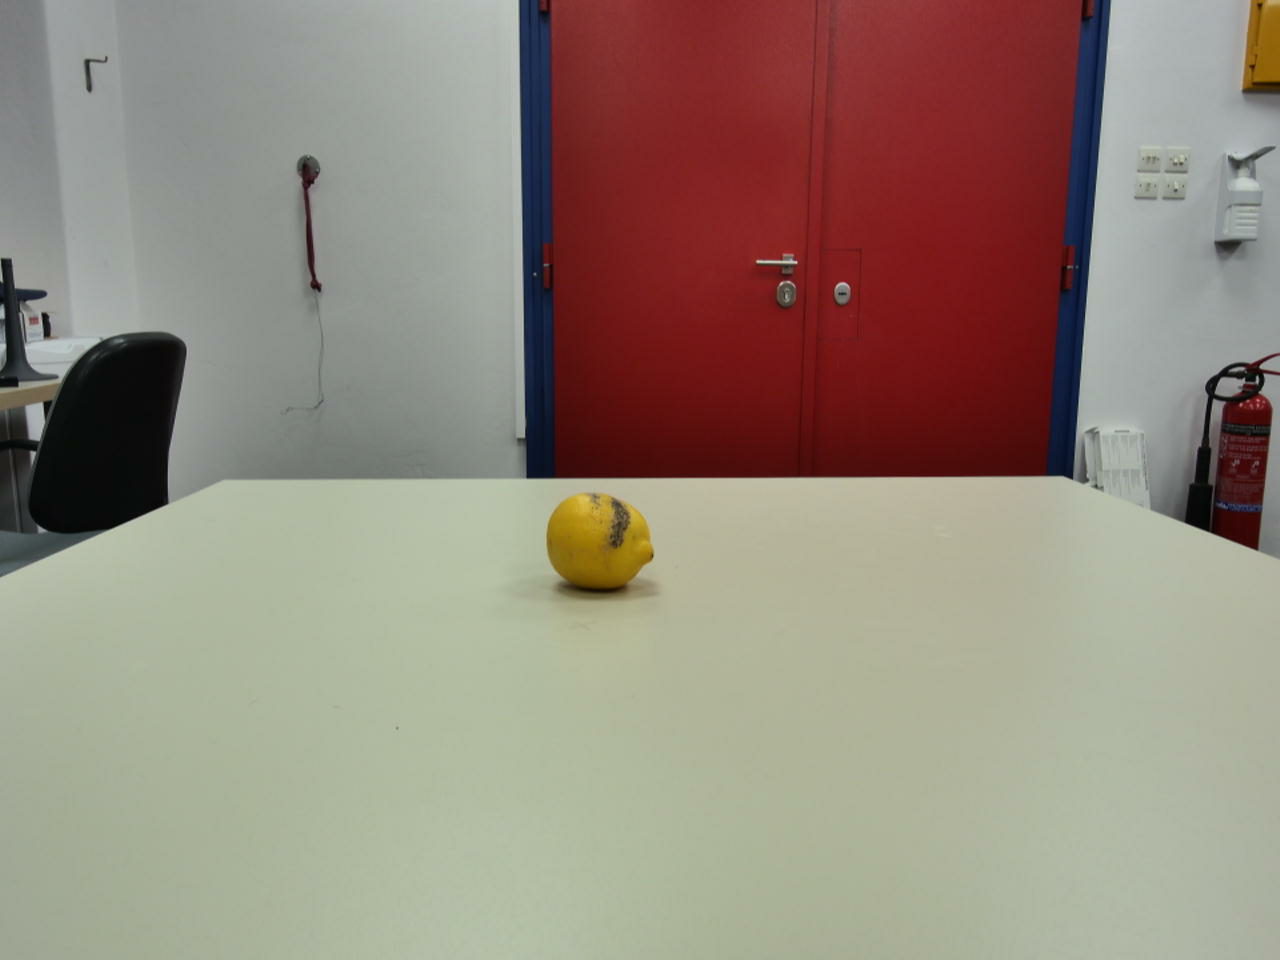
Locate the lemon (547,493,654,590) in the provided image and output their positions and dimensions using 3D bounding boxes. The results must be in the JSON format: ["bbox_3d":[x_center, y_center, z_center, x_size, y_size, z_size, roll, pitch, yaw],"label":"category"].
[{"bbox_3d":[-0.025,0.036,0.592,0.061,0.056,0.058,0,8,-8],"label":"lemon"}]
